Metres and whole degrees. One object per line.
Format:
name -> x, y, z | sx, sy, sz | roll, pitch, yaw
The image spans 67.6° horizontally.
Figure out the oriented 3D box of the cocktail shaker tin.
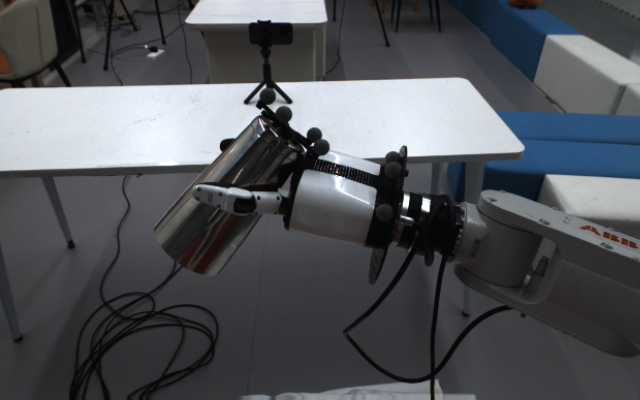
cocktail shaker tin -> -0.094, -0.012, 0.540 | 0.093, 0.170, 0.093 | 41, 12, -11
